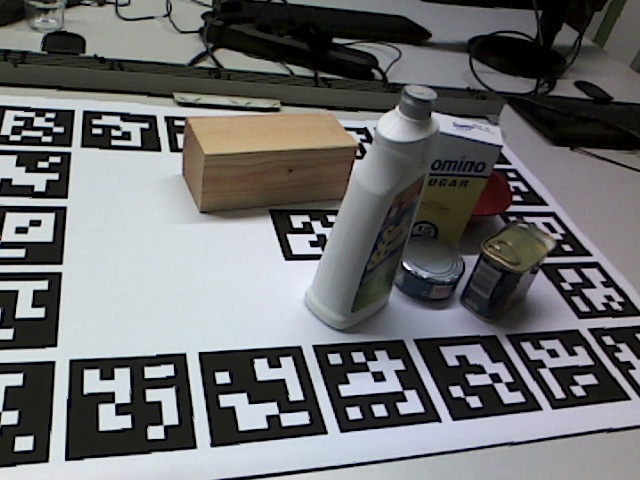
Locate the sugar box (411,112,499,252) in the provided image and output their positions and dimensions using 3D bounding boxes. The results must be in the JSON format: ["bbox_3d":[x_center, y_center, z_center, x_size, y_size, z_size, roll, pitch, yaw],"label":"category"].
[{"bbox_3d":[0.141,-0.061,0.738,0.093,0.176,0.045,10,39,0],"label":"sugar box"}]

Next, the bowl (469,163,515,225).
[{"bbox_3d":[0.182,-0.066,0.861,0.161,0.055,0.162,6,38,-5],"label":"bowl"}]

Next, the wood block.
[{"bbox_3d":[-0.071,-0.102,0.804,0.205,0.090,0.091,-7,46,-27],"label":"wood block"}]

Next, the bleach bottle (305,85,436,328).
[{"bbox_3d":[0.055,-0.031,0.616,0.102,0.250,0.068,-22,49,-37],"label":"bleach bottle"}]

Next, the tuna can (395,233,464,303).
[{"bbox_3d":[0.122,0.033,0.728,0.085,0.034,0.086,8,41,-8],"label":"tuna can"}]

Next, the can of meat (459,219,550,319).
[{"bbox_3d":[0.213,0.033,0.726,0.058,0.083,0.101,34,40,29],"label":"can of meat"}]
